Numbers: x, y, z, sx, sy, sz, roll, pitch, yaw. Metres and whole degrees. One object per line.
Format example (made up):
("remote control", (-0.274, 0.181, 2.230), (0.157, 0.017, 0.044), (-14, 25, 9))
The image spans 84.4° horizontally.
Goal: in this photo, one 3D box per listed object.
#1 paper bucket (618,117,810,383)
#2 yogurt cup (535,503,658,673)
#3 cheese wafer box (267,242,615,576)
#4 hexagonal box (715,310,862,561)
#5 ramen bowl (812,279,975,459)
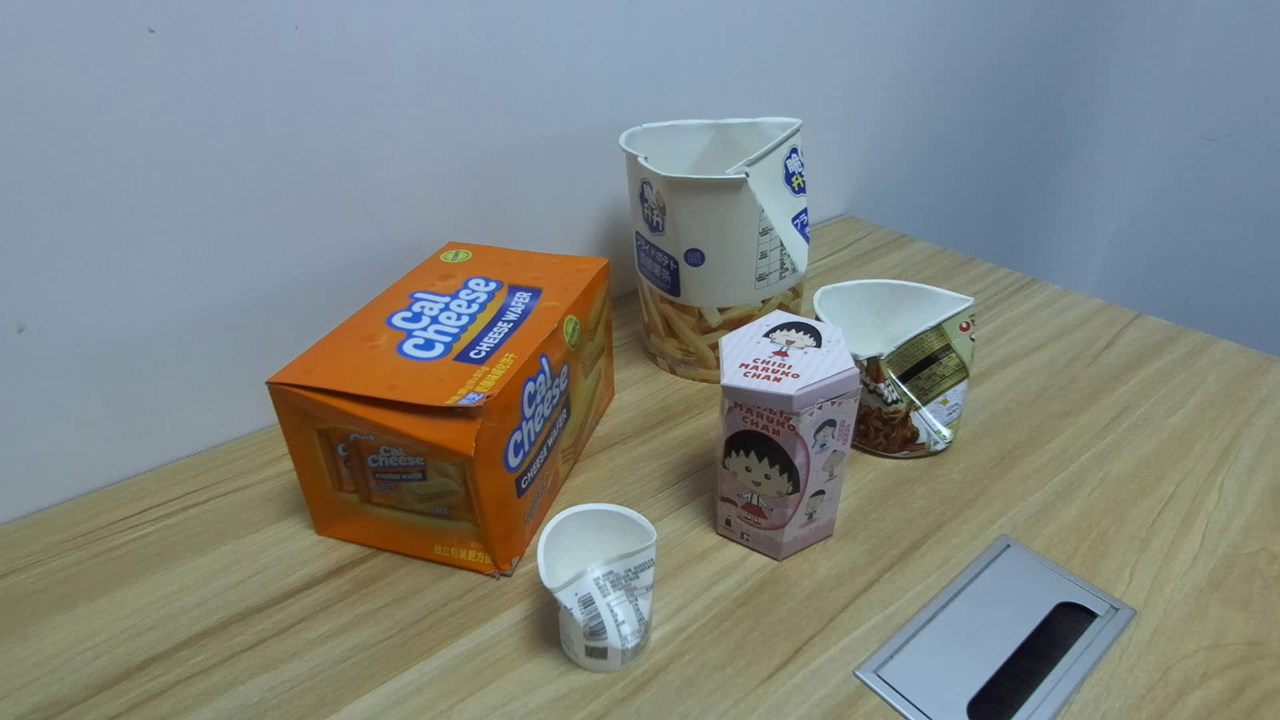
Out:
("paper bucket", (0.074, -0.094, 0.623), (0.169, 0.202, 0.162), (-5, 35, -2))
("yogurt cup", (-0.022, 0.128, 0.396), (0.067, 0.070, 0.067), (-2, 33, 2))
("cheese wafer box", (-0.121, 0.018, 0.512), (0.149, 0.137, 0.227), (9, 33, 15))
("hexagonal box", (0.090, 0.048, 0.454), (0.091, 0.135, 0.085), (19, 38, 29))
("ramen bowl", (0.200, 0.002, 0.564), (0.137, 0.098, 0.137), (0, 32, 0))
